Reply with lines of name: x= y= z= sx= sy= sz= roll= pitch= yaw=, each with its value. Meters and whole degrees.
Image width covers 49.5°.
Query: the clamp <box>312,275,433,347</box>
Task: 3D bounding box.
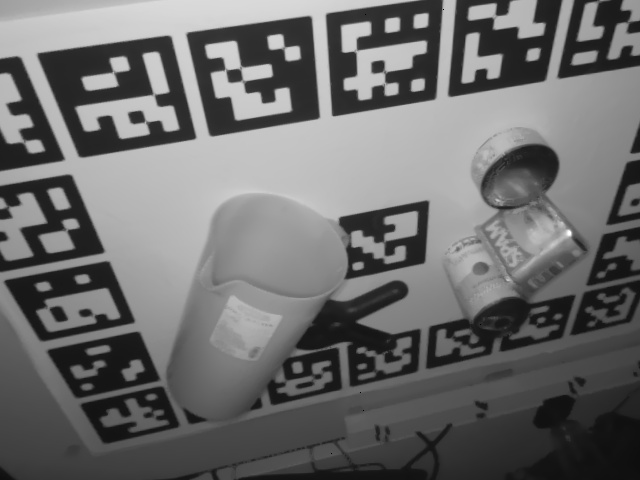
clamp: x=0.053 y=0.097 z=0.844 sx=0.166 sy=0.037 sz=0.121 roll=-7 pitch=135 yaw=-5

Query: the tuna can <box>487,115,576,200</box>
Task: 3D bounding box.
tuna can: x=0.220 y=-0.086 z=0.725 sx=0.086 sy=0.034 sz=0.085 roll=-8 pitch=129 yaw=-9

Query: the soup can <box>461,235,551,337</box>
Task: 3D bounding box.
soup can: x=0.210 y=0.051 z=0.795 sx=0.068 sy=0.102 sz=0.067 roll=-9 pitch=129 yaw=-10

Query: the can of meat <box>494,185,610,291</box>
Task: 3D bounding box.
can of meat: x=0.251 y=-0.006 z=0.752 sx=0.083 sy=0.102 sz=0.058 roll=-40 pitch=127 yaw=15

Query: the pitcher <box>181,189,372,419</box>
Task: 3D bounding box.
pitcher: x=-0.055 y=0.074 z=0.712 sx=0.192 sy=0.133 sz=0.239 roll=-11 pitch=143 yaw=-36
